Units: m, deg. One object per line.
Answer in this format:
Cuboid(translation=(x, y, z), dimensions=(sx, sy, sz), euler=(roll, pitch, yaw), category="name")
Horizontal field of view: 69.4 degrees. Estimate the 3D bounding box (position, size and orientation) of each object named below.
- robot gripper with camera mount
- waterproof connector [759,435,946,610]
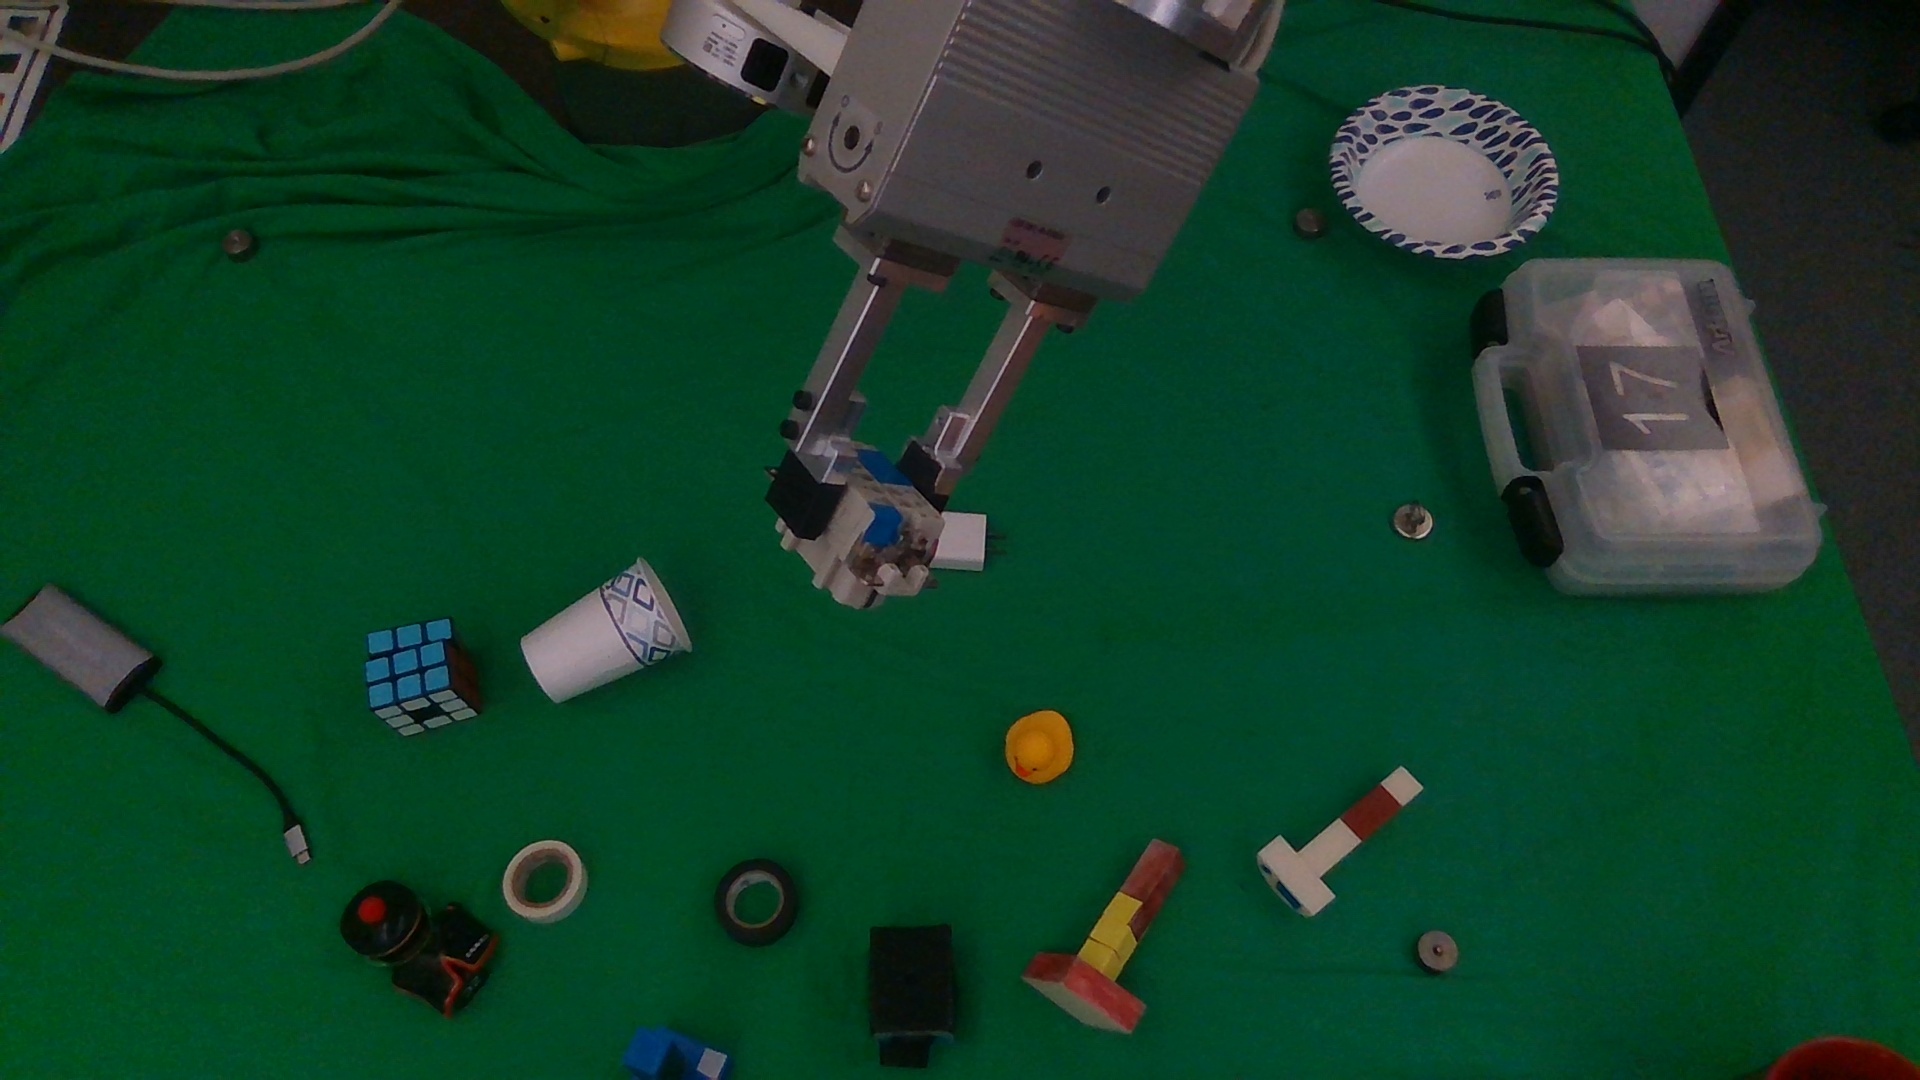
Cuboid(translation=(-0.048, -0.116, 0.454), dimensions=(0.118, 0.159, 0.194), euler=(6, 33, -47), category="robot gripper with camera mount")
Cuboid(translation=(-0.035, -0.006, 0.438), dimensions=(0.034, 0.037, 0.065), euler=(1, 36, -49), category="waterproof connector")
